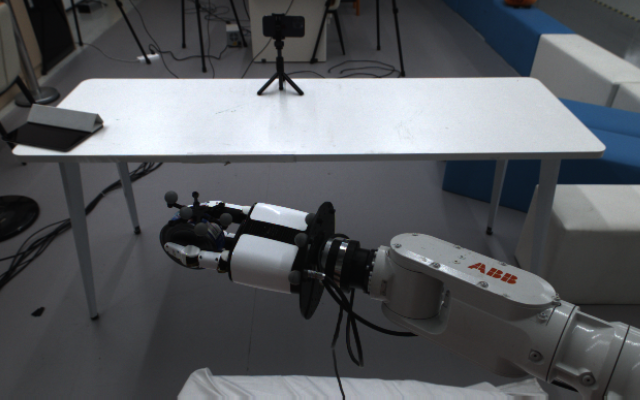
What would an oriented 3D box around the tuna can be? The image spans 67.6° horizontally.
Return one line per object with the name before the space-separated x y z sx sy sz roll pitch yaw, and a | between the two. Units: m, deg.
tuna can | -0.178 0.057 0.683 0.085 0.085 0.034 9 34 10
